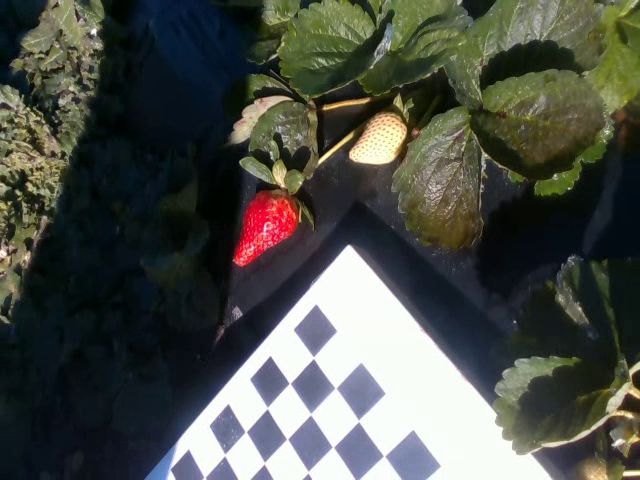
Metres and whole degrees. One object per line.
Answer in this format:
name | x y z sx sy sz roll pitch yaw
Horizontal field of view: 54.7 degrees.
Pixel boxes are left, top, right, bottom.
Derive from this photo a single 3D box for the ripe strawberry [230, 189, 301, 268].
ripe strawberry | -0.040 -0.008 0.419 0.048 0.069 0.040 30 2 36
